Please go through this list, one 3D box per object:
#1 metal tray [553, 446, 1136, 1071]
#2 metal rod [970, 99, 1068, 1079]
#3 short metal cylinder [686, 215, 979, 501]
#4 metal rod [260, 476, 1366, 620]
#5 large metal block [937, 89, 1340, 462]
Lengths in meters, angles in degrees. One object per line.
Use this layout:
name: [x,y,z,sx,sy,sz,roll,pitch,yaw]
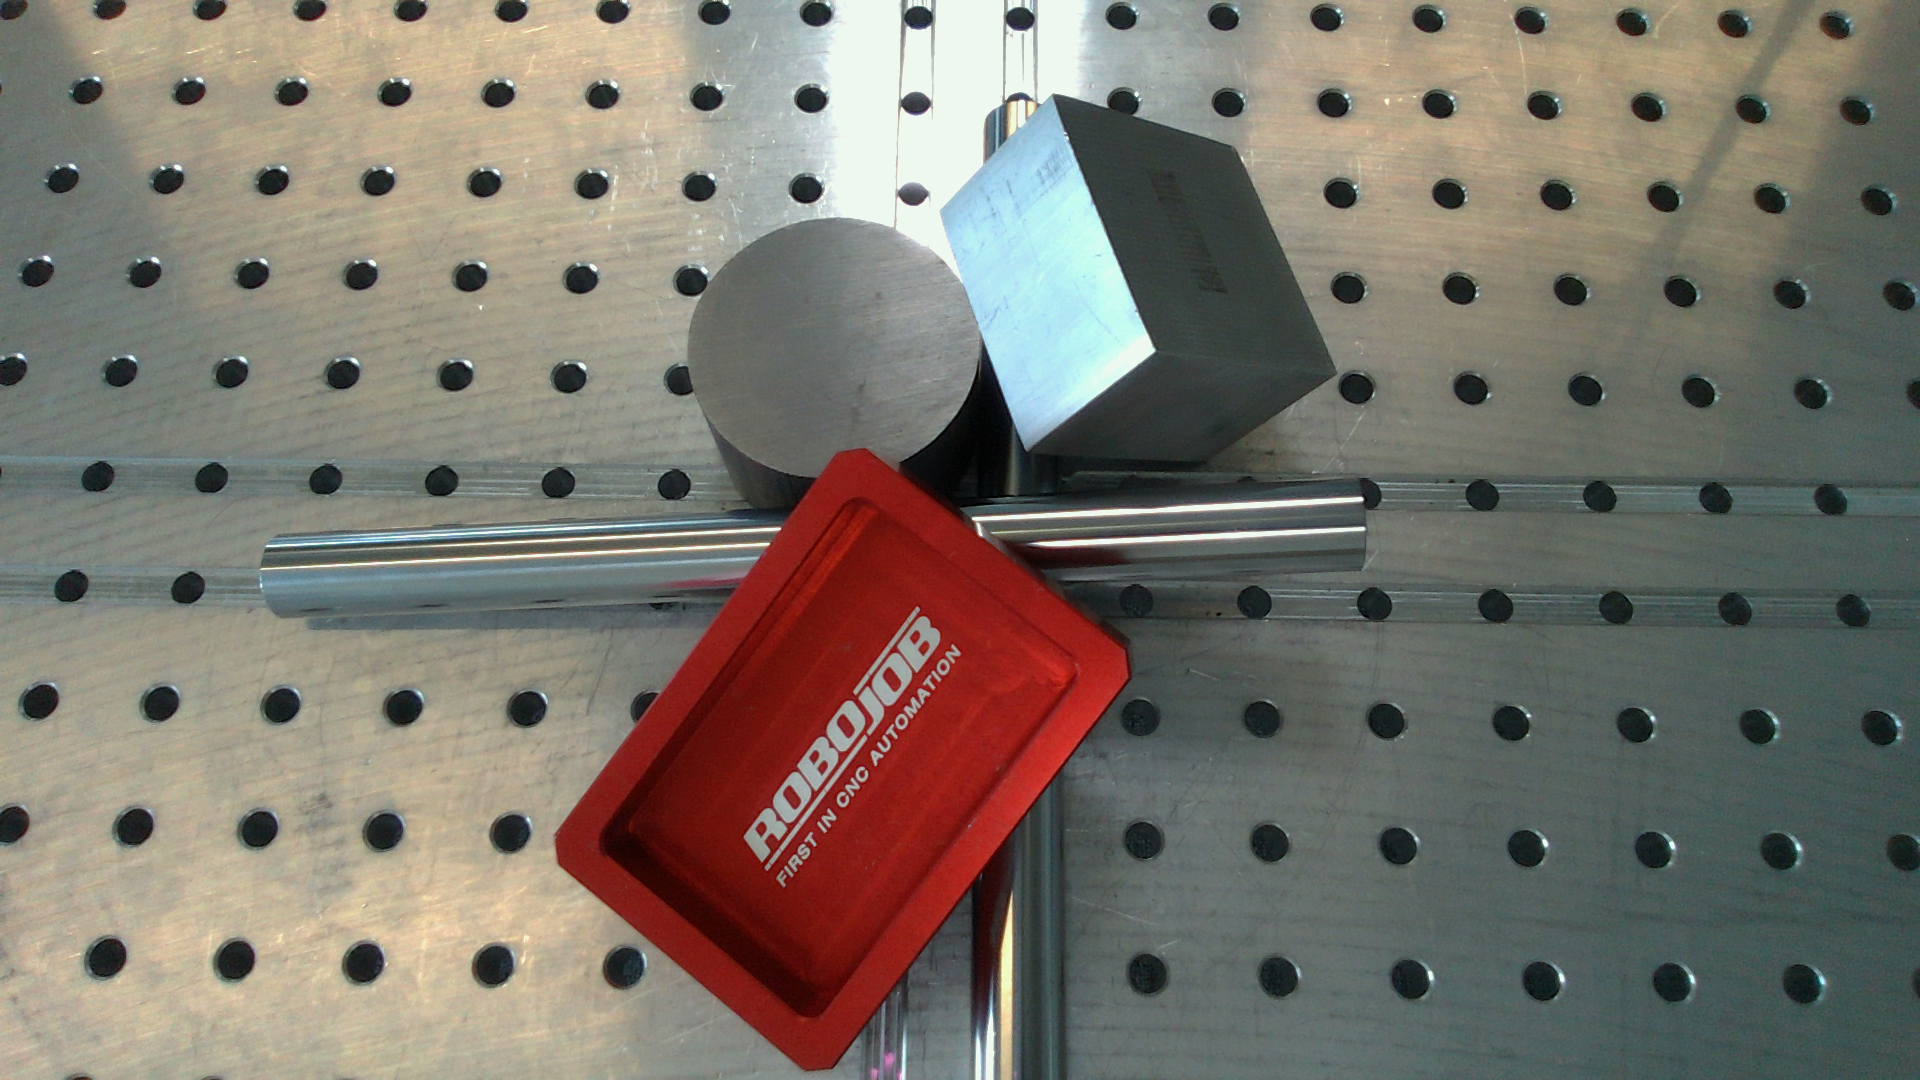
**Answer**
metal tray: [-0.028,0.053,0.347,0.090,0.030,0.130,37,95,6]
metal rod: [0.017,0.006,0.395,0.025,0.025,0.300,1,70,0]
short metal cylinder: [-0.035,-0.046,0.400,0.080,0.050,0.080,0,70,0]
metal rod: [-0.044,0.003,0.378,0.300,0.025,0.025,-3,70,6]
large metal block: [0.050,-0.071,0.388,0.080,0.050,0.080,0,64,-43]
